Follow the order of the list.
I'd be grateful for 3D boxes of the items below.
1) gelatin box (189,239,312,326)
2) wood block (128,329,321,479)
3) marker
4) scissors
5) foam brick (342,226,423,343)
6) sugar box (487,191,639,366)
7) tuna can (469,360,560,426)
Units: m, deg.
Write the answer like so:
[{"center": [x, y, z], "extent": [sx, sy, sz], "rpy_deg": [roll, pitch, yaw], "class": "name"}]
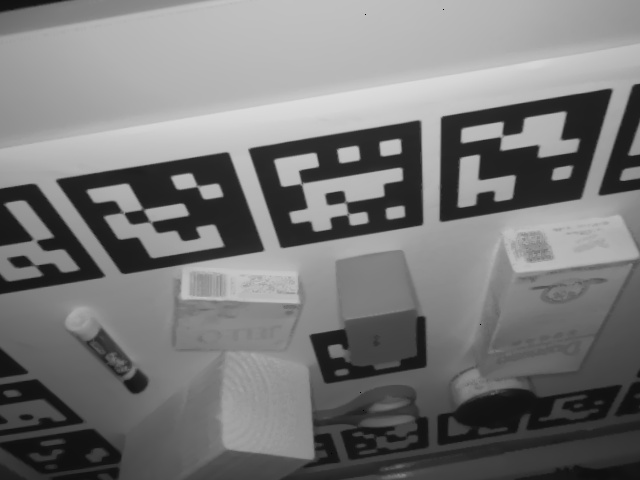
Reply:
[{"center": [-0.056, 0.035, 0.544], "extent": [0.090, 0.030, 0.072], "rpy_deg": [3, 136, -12], "class": "gelatin box"}, {"center": [-0.097, 0.181, 0.656], "extent": [0.091, 0.091, 0.203], "rpy_deg": [22, 131, -29], "class": "wood block"}, {"center": [-0.158, 0.077, 0.579], "extent": [0.019, 0.020, 0.120], "rpy_deg": [-9, 135, 2], "class": "marker"}, {"center": [0.025, 0.178, 0.722], "extent": [0.204, 0.016, 0.087], "rpy_deg": [-6, 137, -5], "class": "scissors"}, {"center": [0.049, 0.035, 0.538], "extent": [0.053, 0.051, 0.077], "rpy_deg": [-9, 137, 1], "class": "foam brick"}, {"center": [0.195, 0.039, 0.578], "extent": [0.093, 0.045, 0.175], "rpy_deg": [-6, 138, 0], "class": "sugar box"}, {"center": [0.196, 0.153, 0.703], "extent": [0.086, 0.034, 0.085], "rpy_deg": [-5, 137, -4], "class": "tuna can"}]
